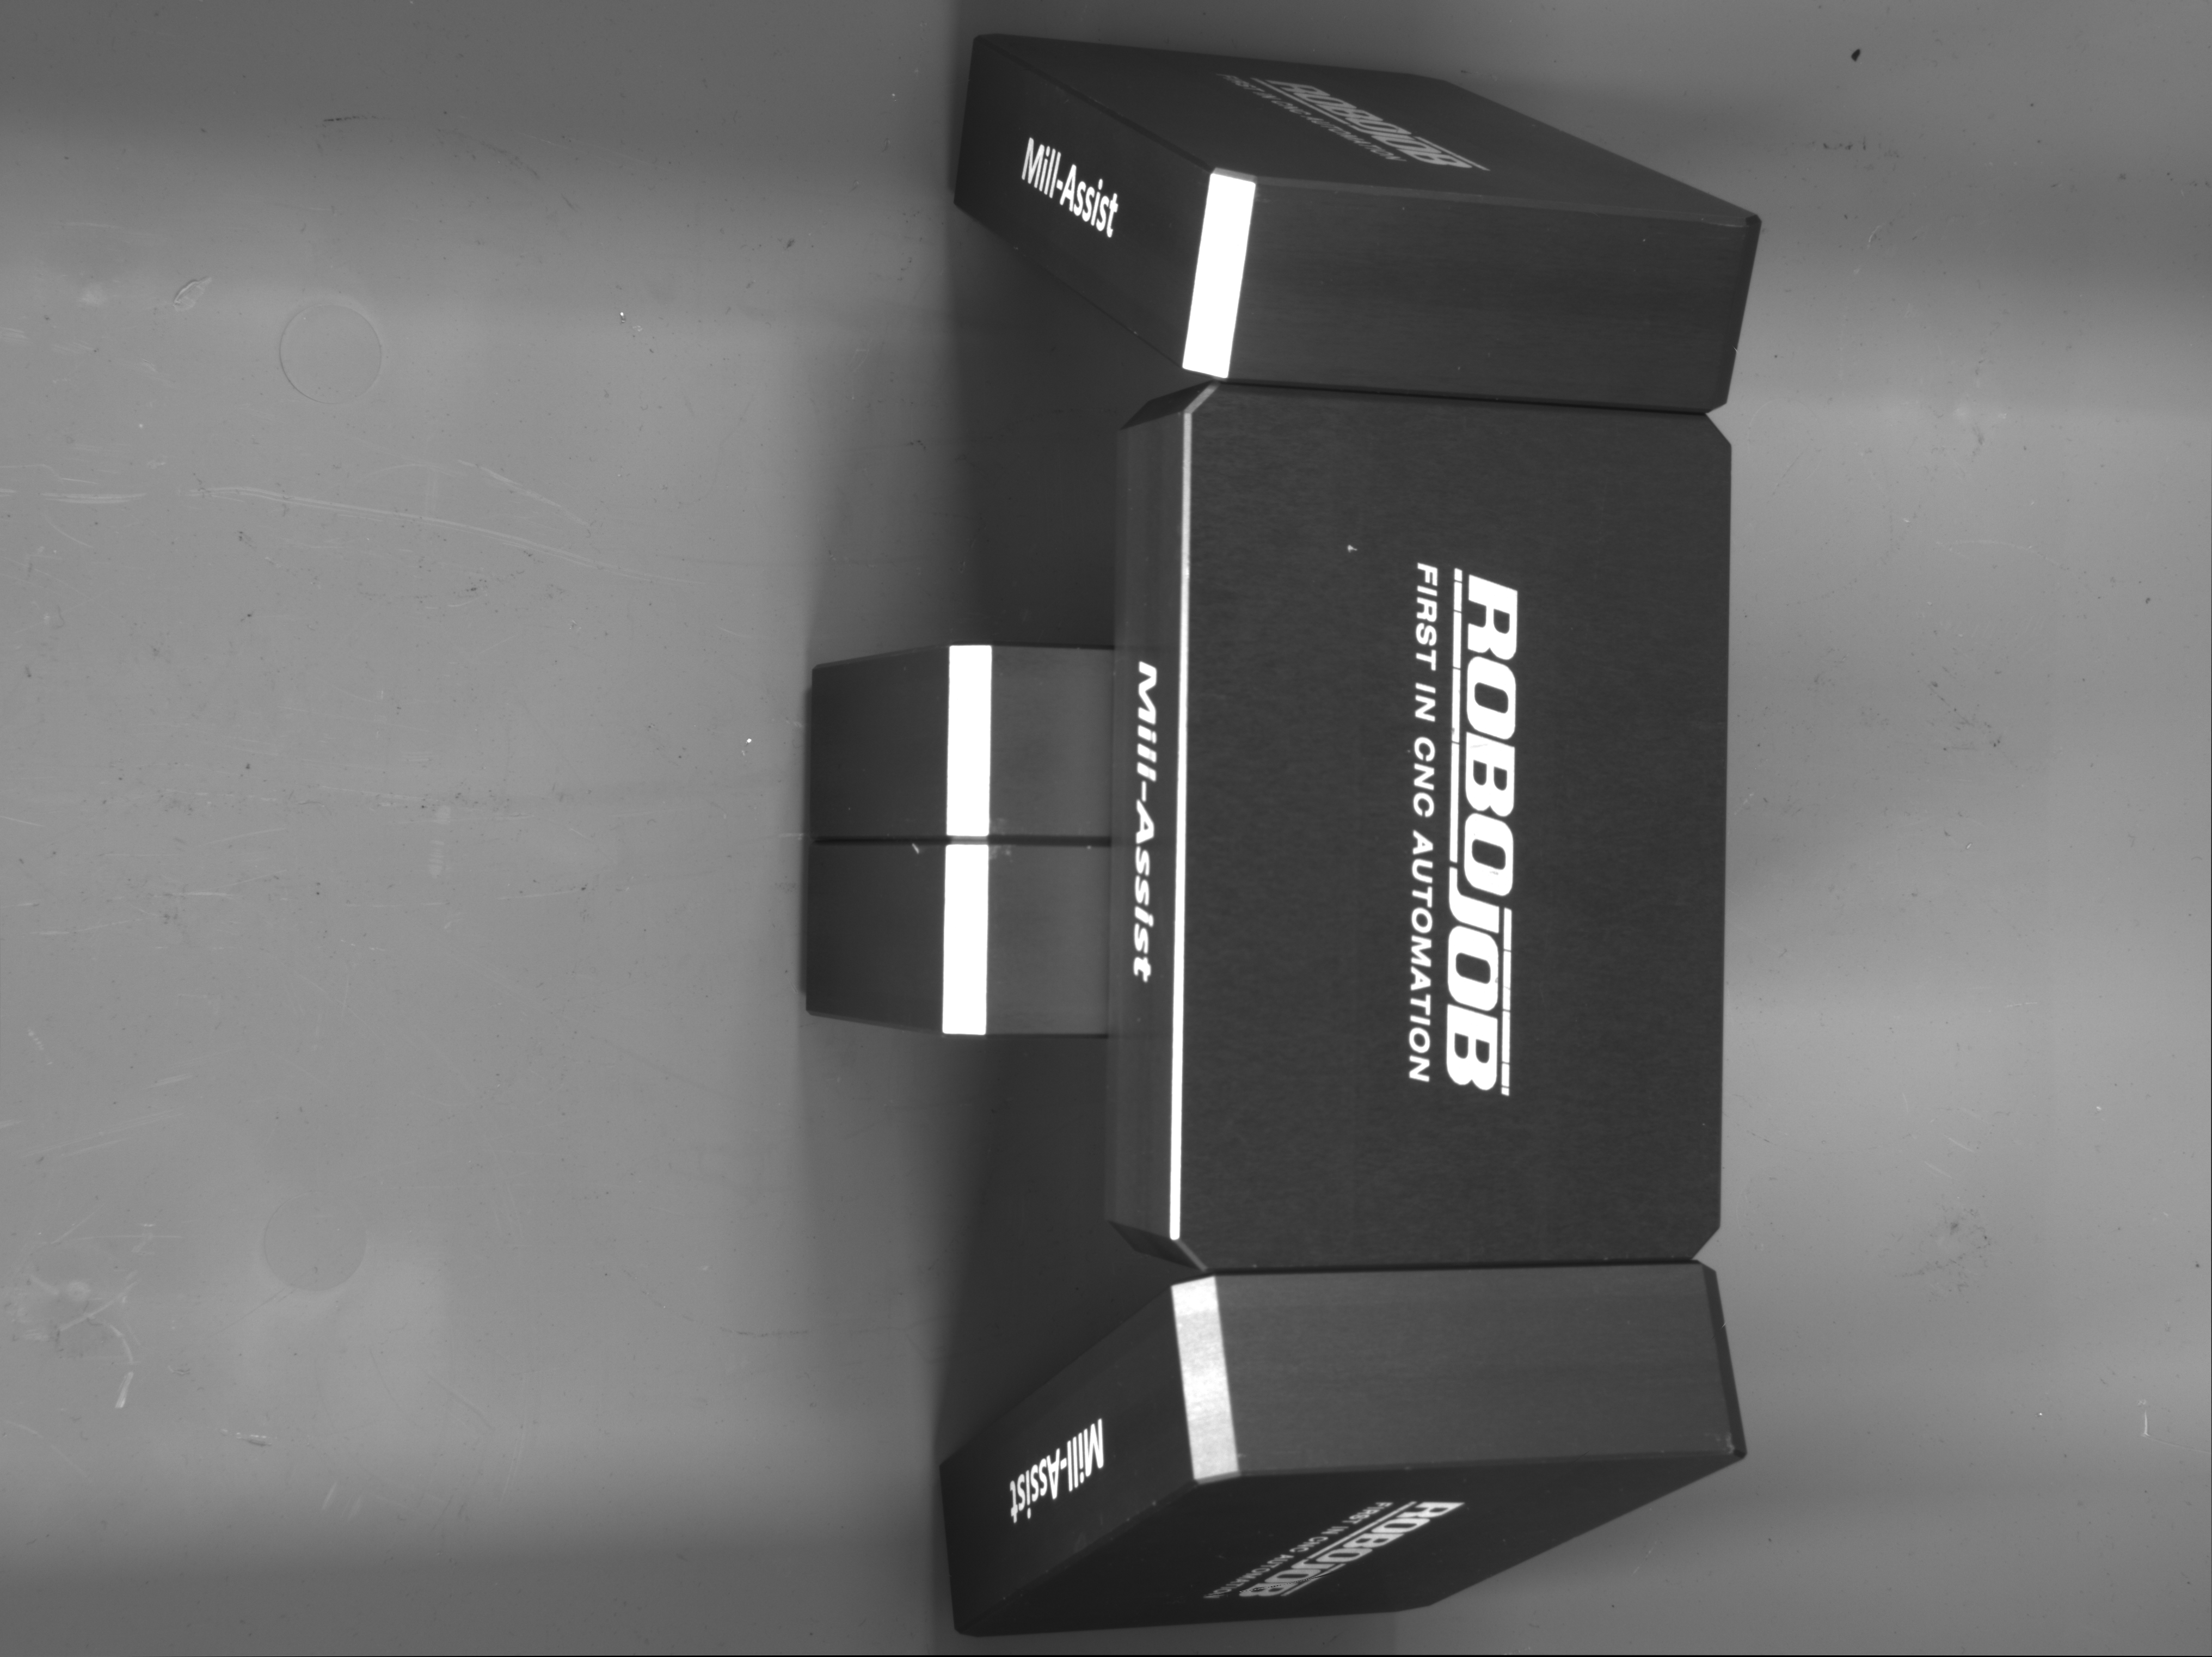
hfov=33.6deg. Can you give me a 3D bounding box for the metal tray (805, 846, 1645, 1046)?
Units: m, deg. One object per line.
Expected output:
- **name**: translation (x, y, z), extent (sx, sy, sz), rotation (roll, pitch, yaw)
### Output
- **metal tray**: translation (0.023, 0.019, 0.616), extent (0.130, 0.090, 0.030), rotation (1, 89, -20)

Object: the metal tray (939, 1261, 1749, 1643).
- **metal tray**: translation (0.034, 0.103, 0.597), extent (0.090, 0.130, 0.030), rotation (1, 68, -20)

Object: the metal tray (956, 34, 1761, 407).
- **metal tray**: translation (0.037, -0.101, 0.599), extent (0.090, 0.130, 0.030), rotation (1, 110, -20)

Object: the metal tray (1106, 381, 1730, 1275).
- **metal tray**: translation (0.048, 0.001, 0.561), extent (0.090, 0.030, 0.130), rotation (1, 90, -21)

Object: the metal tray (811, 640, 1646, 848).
- **metal tray**: translation (0.024, -0.012, 0.616), extent (0.130, 0.090, 0.030), rotation (1, 89, -20)
